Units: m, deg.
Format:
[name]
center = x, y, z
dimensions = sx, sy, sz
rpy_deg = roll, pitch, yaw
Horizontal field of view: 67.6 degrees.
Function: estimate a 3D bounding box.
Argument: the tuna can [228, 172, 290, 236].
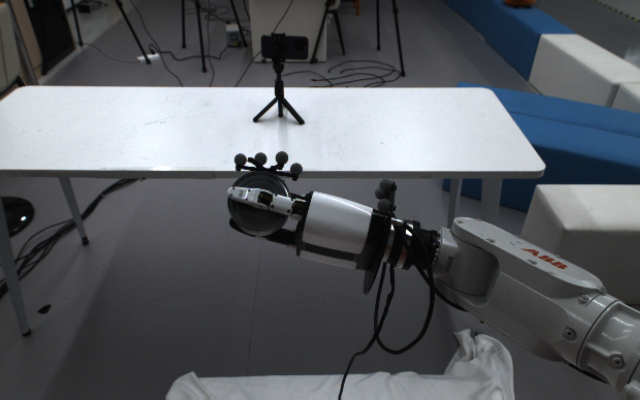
[tuna can]
center = -0.082, 0.005, 0.664
dimensions = 0.085, 0.034, 0.085
rpy_deg = 1, 73, -3
